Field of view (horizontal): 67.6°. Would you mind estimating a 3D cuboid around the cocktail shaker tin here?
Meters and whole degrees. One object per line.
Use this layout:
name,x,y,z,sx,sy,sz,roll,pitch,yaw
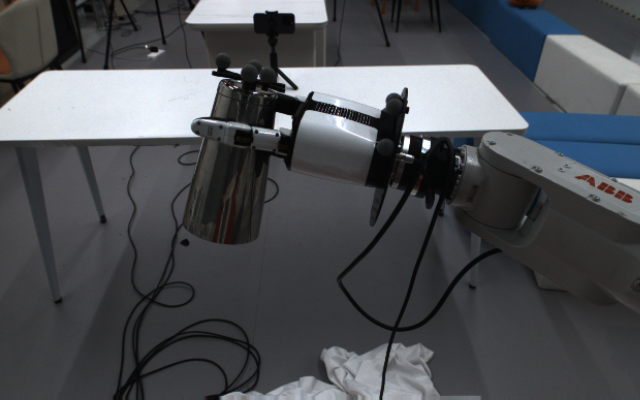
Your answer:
cocktail shaker tin,-0.096,-0.048,0.558,0.093,0.170,0.093,14,19,-5
